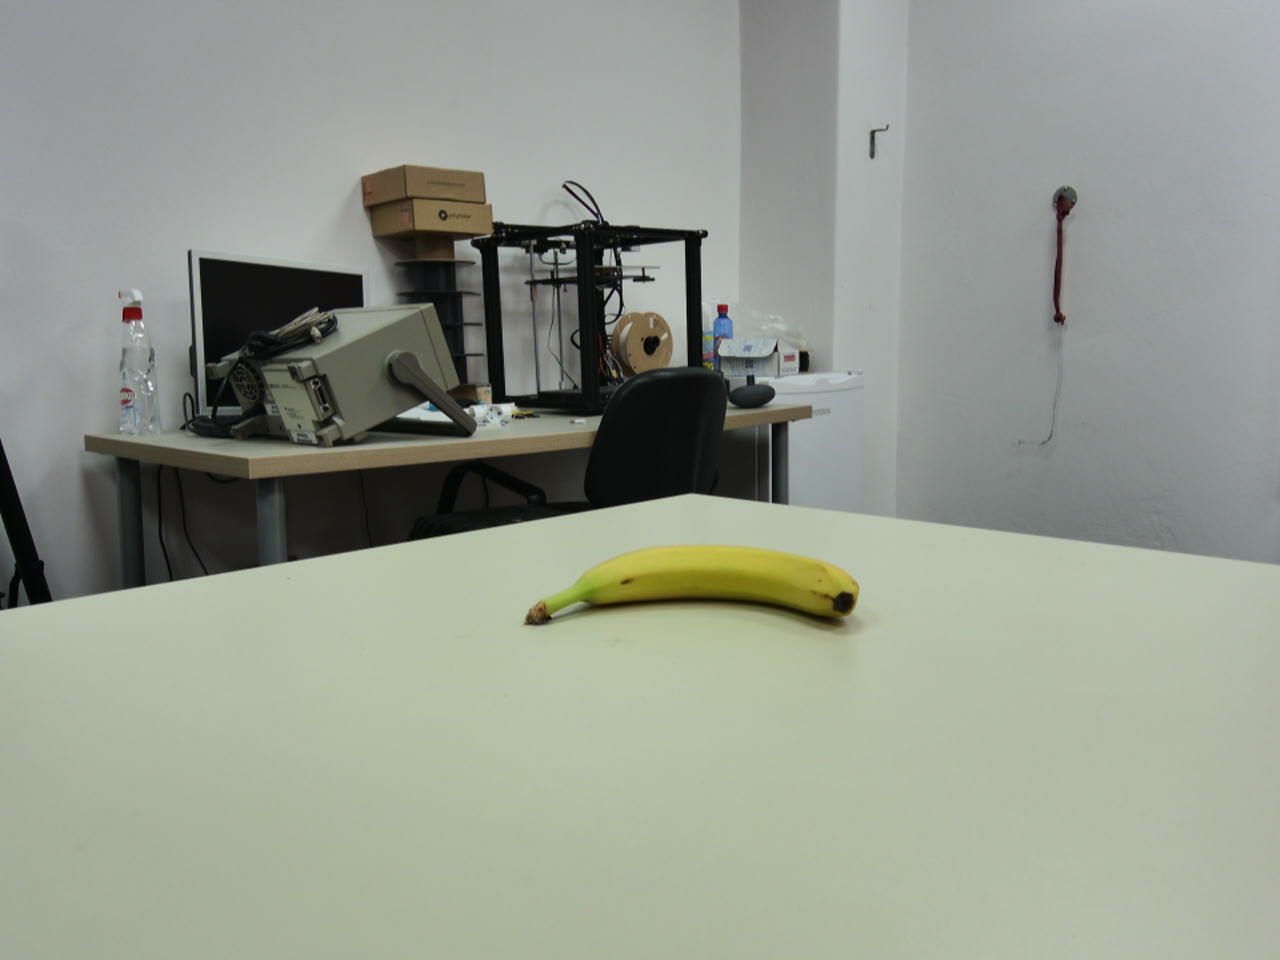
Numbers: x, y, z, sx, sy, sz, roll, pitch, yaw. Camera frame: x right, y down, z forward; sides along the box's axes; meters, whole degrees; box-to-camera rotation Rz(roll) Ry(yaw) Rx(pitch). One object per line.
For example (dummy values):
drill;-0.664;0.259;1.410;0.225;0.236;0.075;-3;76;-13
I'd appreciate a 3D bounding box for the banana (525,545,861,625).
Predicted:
banana;0.035;0.064;0.633;0.196;0.041;0.094;2;6;11
